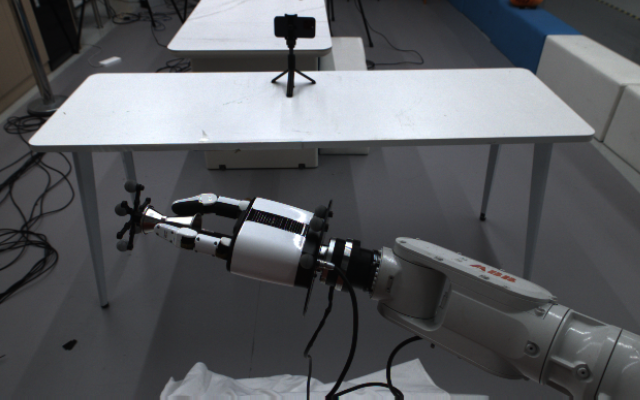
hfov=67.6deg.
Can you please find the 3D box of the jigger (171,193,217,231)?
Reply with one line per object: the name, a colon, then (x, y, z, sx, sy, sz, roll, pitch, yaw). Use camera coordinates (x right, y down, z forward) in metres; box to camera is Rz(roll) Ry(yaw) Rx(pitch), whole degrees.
jigger: (-0.190, 0.031, 0.644, 0.071, 0.043, 0.043, 10, 35, 2)
